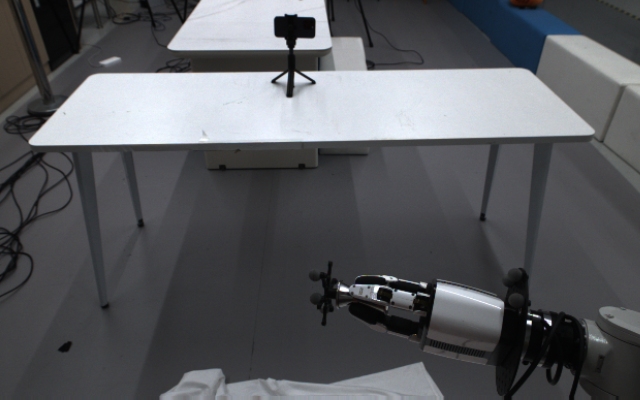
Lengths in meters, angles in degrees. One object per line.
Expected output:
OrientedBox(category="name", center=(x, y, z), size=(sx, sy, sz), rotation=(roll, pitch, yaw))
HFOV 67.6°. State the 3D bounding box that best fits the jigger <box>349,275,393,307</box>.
OrientedBox(category="jigger", center=(0.067, 0.127, 0.663), size=(0.071, 0.043, 0.043), rotation=(2, 34, 15))
